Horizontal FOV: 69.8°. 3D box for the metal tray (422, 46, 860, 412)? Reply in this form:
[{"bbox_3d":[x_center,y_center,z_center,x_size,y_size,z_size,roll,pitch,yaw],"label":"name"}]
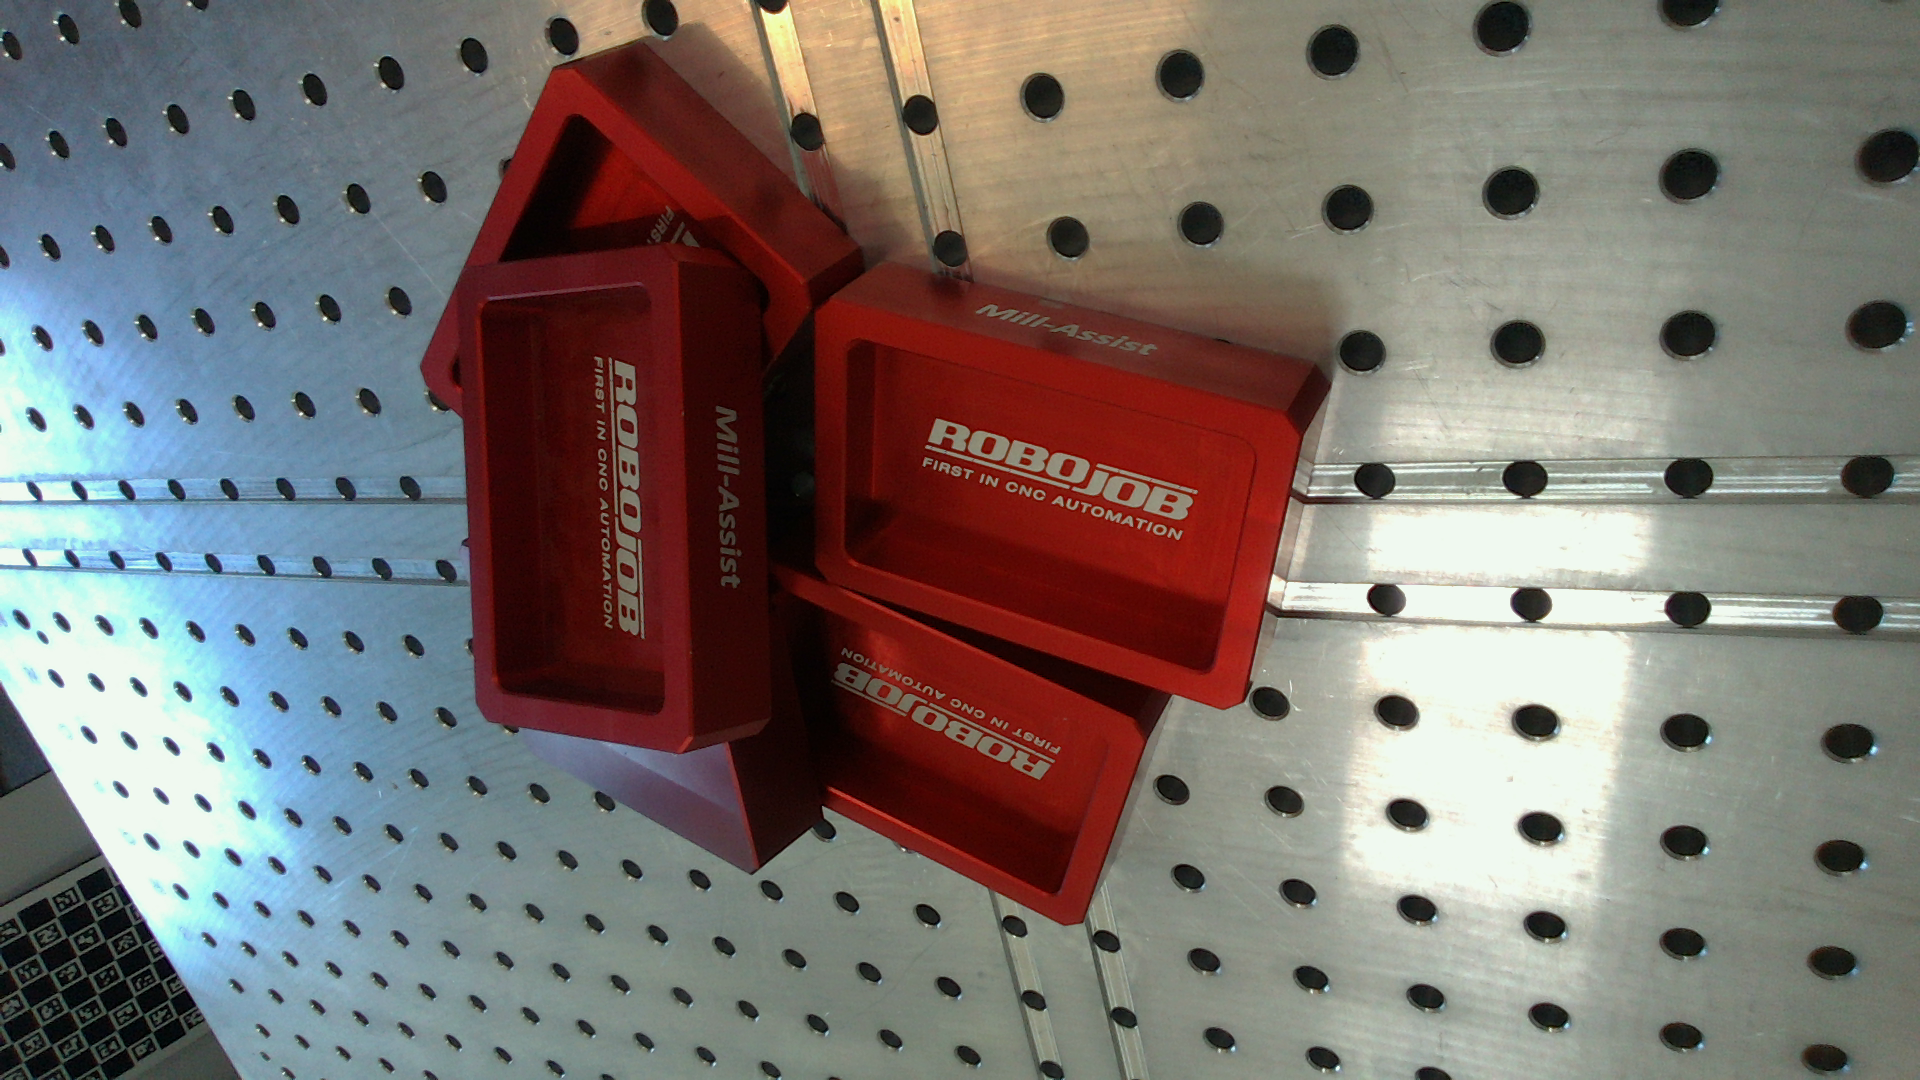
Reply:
[{"bbox_3d":[-0.098,-0.064,0.405,0.090,0.030,0.130,43,129,-1],"label":"metal tray"}]

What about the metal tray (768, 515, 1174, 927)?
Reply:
[{"bbox_3d":[-0.006,0.056,0.430,0.130,0.030,0.090,23,128,14],"label":"metal tray"}]

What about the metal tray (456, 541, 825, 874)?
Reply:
[{"bbox_3d":[-0.108,0.047,0.457,0.129,0.030,0.090,16,127,37],"label":"metal tray"}]

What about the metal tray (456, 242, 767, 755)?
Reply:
[{"bbox_3d":[-0.098,-0.012,0.382,0.090,0.030,0.130,2,96,36],"label":"metal tray"}]

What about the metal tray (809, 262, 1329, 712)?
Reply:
[{"bbox_3d":[0.024,-0.015,0.369,0.130,0.030,0.090,17,126,18],"label":"metal tray"}]
